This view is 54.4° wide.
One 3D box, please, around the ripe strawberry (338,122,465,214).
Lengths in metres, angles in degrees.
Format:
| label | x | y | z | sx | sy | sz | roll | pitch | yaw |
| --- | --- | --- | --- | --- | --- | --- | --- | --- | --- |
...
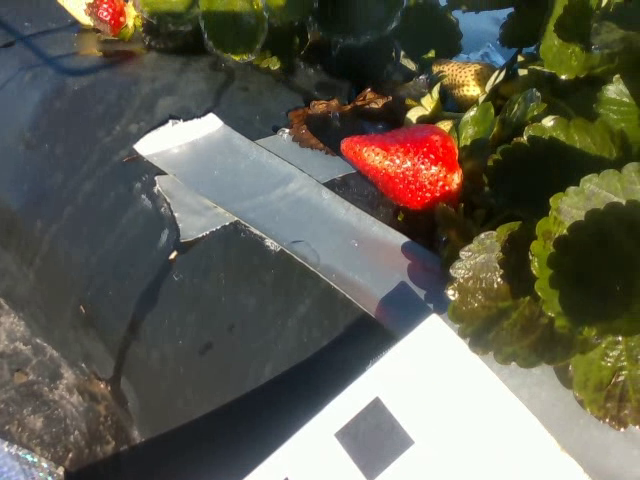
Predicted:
| label | x | y | z | sx | sy | sz | roll | pitch | yaw |
| --- | --- | --- | --- | --- | --- | --- | --- | --- | --- |
| ripe strawberry | 0.039 | -0.038 | 0.327 | 0.065 | 0.061 | 0.058 | 9 | -29 | -30 |
